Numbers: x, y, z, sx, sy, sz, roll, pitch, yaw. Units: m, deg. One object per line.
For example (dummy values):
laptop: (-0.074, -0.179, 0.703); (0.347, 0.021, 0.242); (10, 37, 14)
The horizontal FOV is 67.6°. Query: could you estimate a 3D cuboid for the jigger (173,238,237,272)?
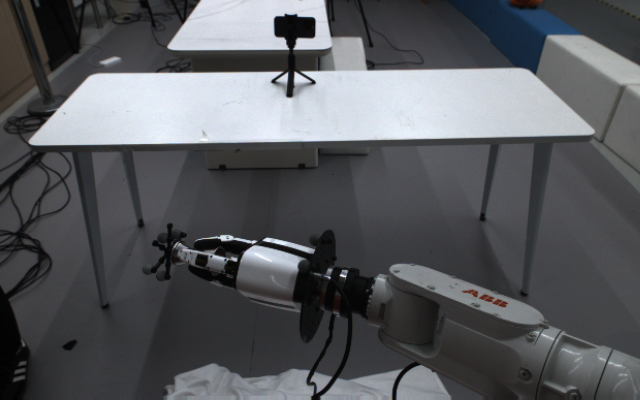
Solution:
jigger: (-0.175, 0.081, 0.719); (0.071, 0.043, 0.043); (8, 35, 16)
